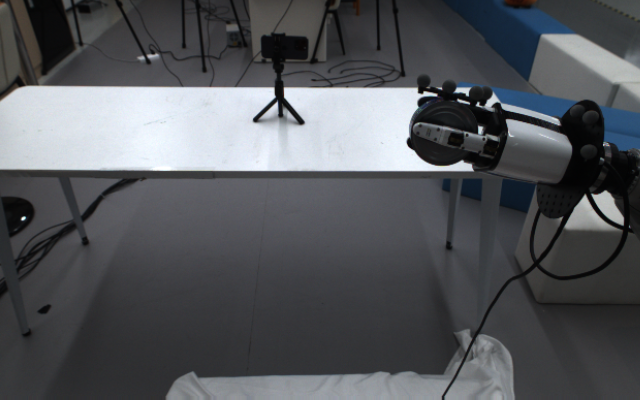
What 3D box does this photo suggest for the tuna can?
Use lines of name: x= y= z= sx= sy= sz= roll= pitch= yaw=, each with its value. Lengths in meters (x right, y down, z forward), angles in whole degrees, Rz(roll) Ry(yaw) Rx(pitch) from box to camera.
tuna can: x=0.162 y=-0.094 z=0.638 sx=0.085 sy=0.085 sz=0.034 roll=5 pitch=19 yaw=4
